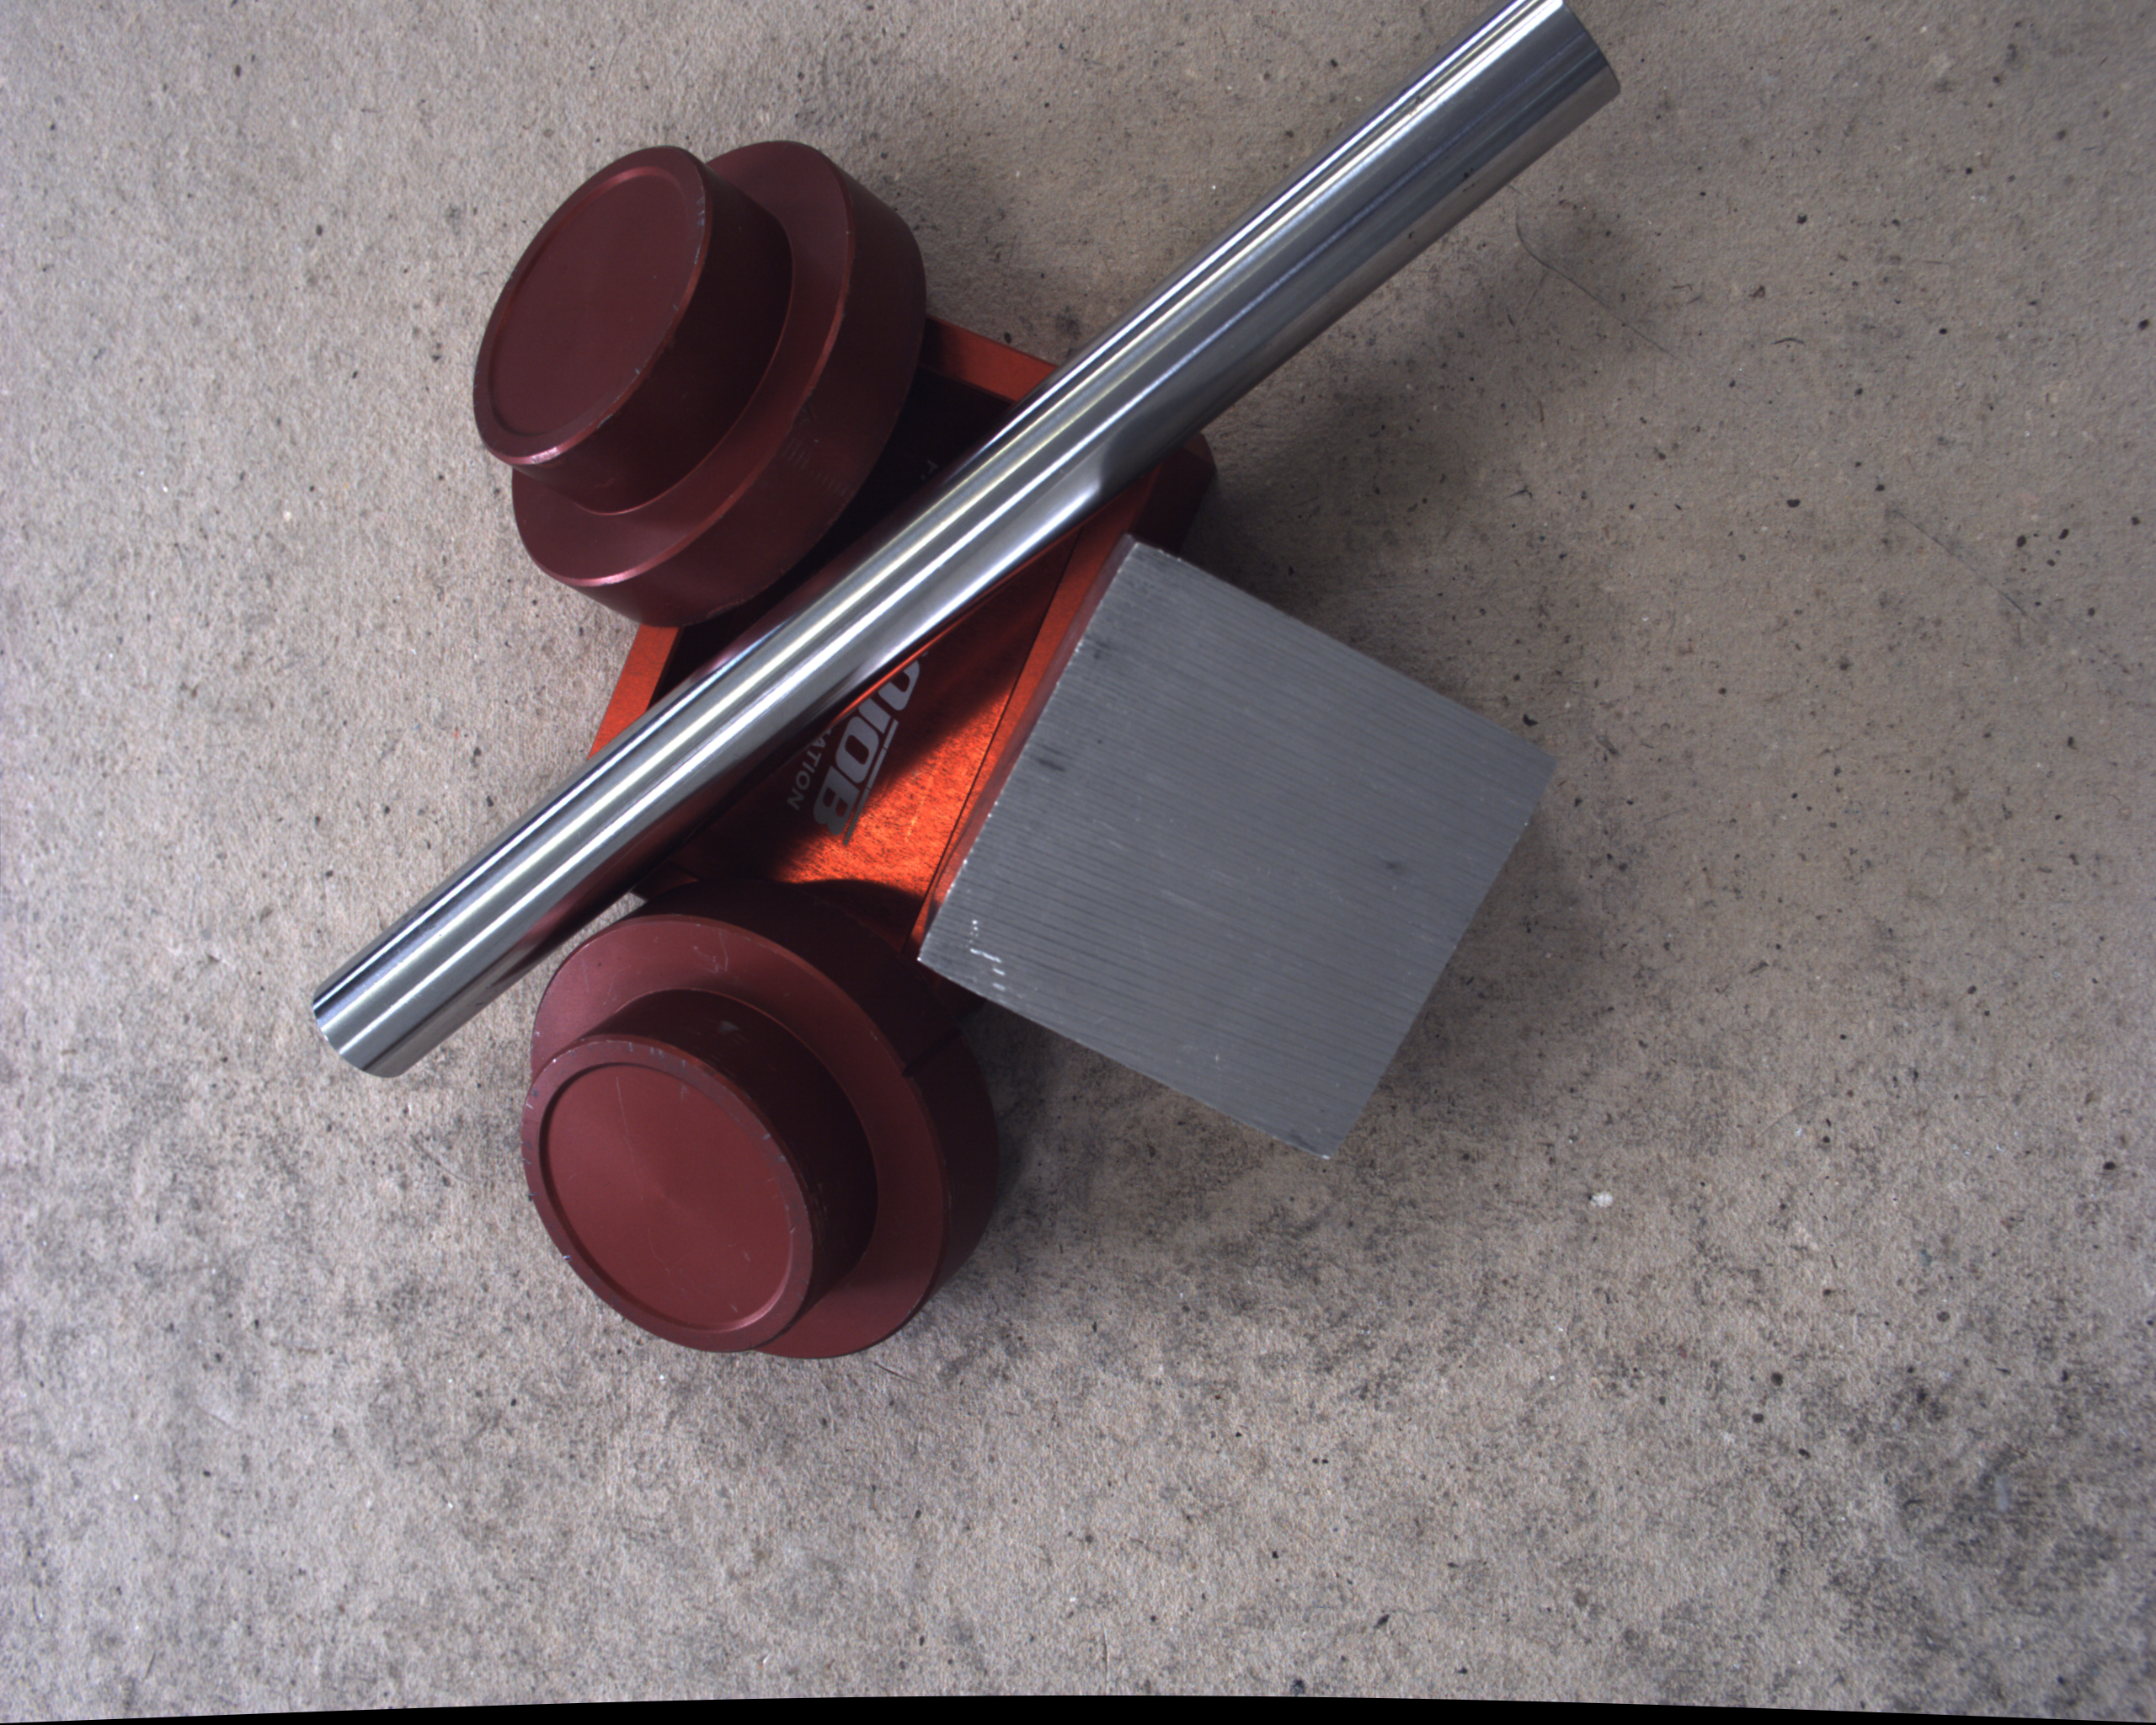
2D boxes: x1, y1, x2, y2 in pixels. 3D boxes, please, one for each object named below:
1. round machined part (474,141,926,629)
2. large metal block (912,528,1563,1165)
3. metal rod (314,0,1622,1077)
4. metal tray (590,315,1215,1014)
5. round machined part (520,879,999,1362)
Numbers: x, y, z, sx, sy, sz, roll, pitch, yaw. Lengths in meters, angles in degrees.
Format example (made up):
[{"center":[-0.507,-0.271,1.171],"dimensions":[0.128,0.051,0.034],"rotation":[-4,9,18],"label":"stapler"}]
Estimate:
[{"center":[-0.080,-0.098,0.408],"dimensions":[0.098,0.042,0.098],"rotation":[-19,59,34],"label":"round machined part"},{"center":[0.026,-0.005,0.372],"dimensions":[0.080,0.050,0.080],"rotation":[27,99,-7],"label":"large metal block"},{"center":[-0.032,-0.053,0.390],"dimensions":[0.300,0.025,0.025],"rotation":[-37,78,16],"label":"metal rod"},{"center":[-0.040,-0.043,0.421],"dimensions":[0.090,0.030,0.129],"rotation":[26,98,18],"label":"metal tray"},{"center":[-0.068,0.056,0.407],"dimensions":[0.098,0.042,0.097],"rotation":[10,115,23],"label":"round machined part"}]
